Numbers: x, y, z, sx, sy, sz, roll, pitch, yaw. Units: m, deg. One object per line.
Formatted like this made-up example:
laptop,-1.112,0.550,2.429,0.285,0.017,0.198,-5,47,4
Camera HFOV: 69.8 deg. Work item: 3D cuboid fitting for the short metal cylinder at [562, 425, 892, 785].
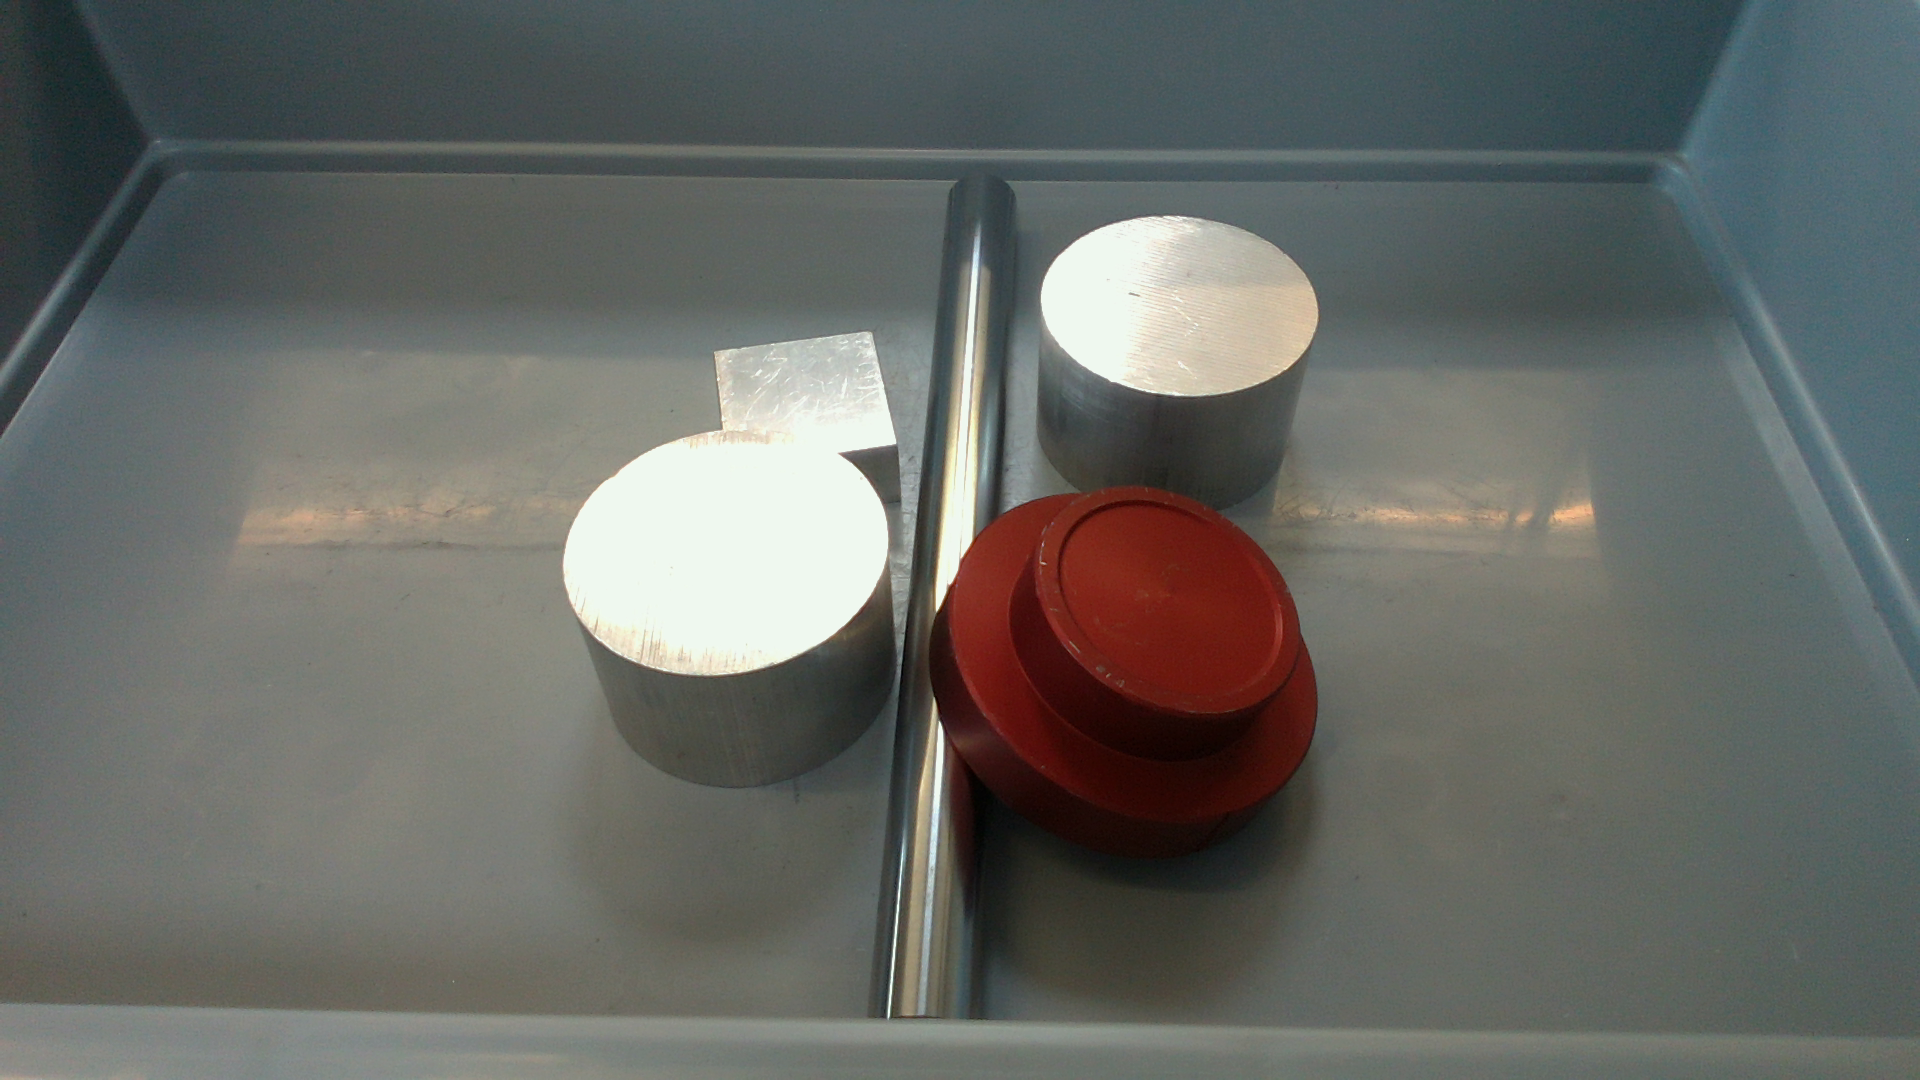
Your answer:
short metal cylinder,-0.058,0.016,0.359,0.080,0.050,0.080,0,50,0

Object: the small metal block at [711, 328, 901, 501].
small metal block,-0.047,-0.036,0.419,0.050,0.025,0.050,-9,50,-7

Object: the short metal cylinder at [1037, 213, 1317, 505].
short metal cylinder,0.063,-0.054,0.419,0.080,0.050,0.080,0,50,0

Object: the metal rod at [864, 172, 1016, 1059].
metal rod,0.000,-0.007,0.395,0.025,0.025,0.300,2,50,2

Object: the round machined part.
round machined part,0.045,0.025,0.342,0.098,0.042,0.098,11,48,-12
